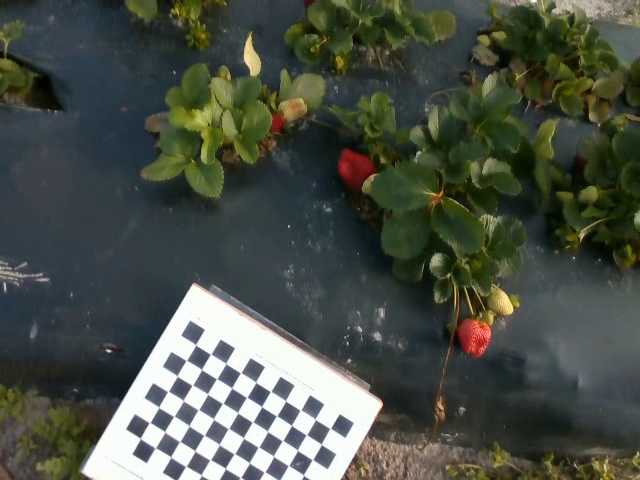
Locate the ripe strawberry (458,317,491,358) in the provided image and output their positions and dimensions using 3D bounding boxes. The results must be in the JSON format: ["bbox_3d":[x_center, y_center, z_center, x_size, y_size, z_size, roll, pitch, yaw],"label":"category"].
[{"bbox_3d":[0.212,0.132,0.874,0.047,0.050,0.035,11,-5,-3],"label":"ripe strawberry"}]

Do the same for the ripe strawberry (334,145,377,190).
[{"bbox_3d":[0.049,-0.104,0.958,0.070,0.058,0.057,43,-2,-28],"label":"ripe strawberry"}]
